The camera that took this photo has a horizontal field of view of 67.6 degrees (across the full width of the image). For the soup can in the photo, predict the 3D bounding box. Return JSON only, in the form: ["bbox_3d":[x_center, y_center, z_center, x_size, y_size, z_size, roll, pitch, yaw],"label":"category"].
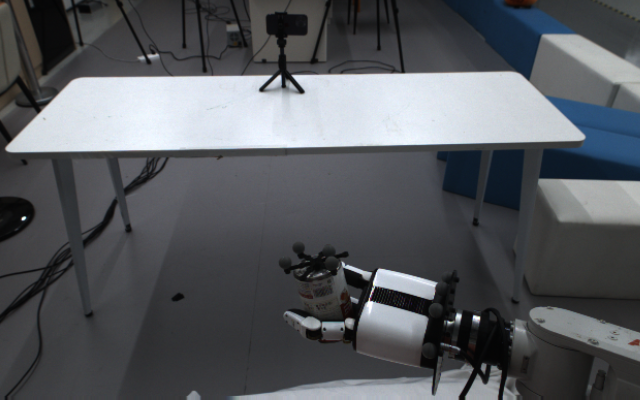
[{"bbox_3d":[0.008,0.134,0.657,0.067,0.101,0.067,-12,19,4],"label":"soup can"}]
